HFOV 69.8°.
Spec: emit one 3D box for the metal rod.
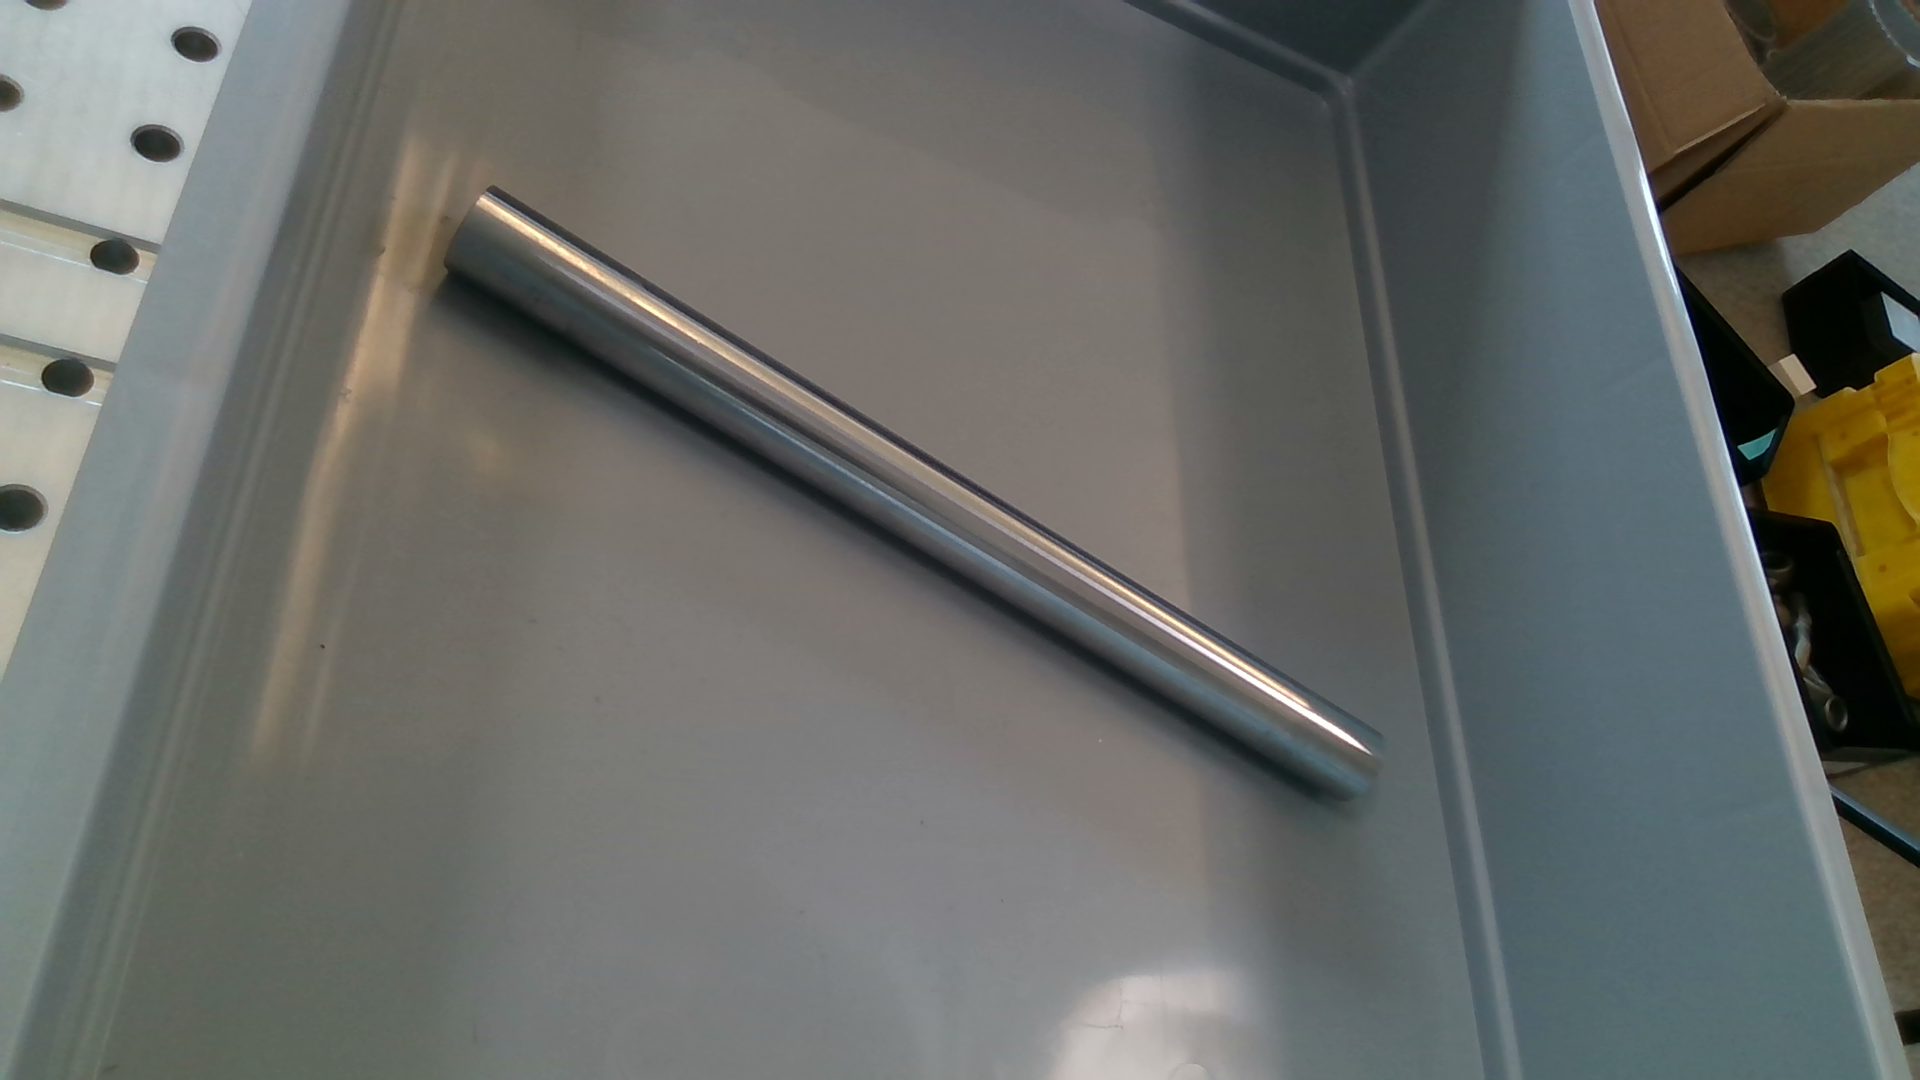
[{"bbox_3d":[-0.002,-0.007,0.393,0.300,0.025,0.025,31,53,-14],"label":"metal rod"}]
